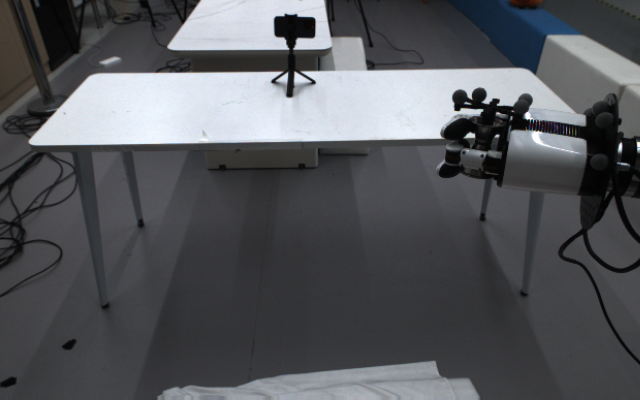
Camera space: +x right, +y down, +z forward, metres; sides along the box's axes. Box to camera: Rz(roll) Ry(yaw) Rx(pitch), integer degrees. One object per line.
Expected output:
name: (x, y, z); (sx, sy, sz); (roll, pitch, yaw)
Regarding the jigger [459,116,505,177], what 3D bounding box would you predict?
jigger: (0.206, -0.067, 0.610); (0.043, 0.071, 0.043); (3, 25, -1)
